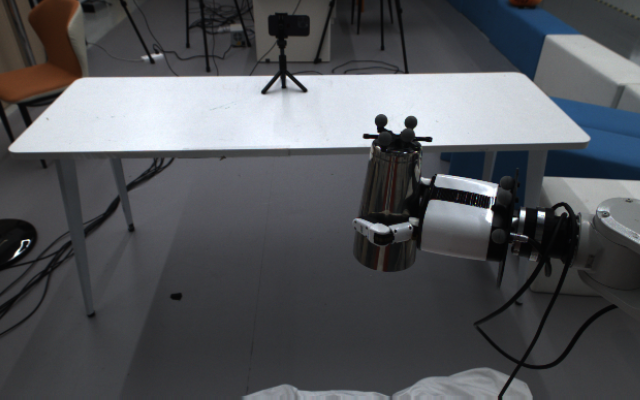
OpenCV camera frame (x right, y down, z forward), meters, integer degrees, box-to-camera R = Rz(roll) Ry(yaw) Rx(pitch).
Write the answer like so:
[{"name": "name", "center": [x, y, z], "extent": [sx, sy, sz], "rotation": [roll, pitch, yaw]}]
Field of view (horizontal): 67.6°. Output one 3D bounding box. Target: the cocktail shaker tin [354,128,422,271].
[{"name": "cocktail shaker tin", "center": [0.099, 0.001, 0.667], "extent": [0.093, 0.170, 0.093], "rotation": [2, 28, -1]}]
